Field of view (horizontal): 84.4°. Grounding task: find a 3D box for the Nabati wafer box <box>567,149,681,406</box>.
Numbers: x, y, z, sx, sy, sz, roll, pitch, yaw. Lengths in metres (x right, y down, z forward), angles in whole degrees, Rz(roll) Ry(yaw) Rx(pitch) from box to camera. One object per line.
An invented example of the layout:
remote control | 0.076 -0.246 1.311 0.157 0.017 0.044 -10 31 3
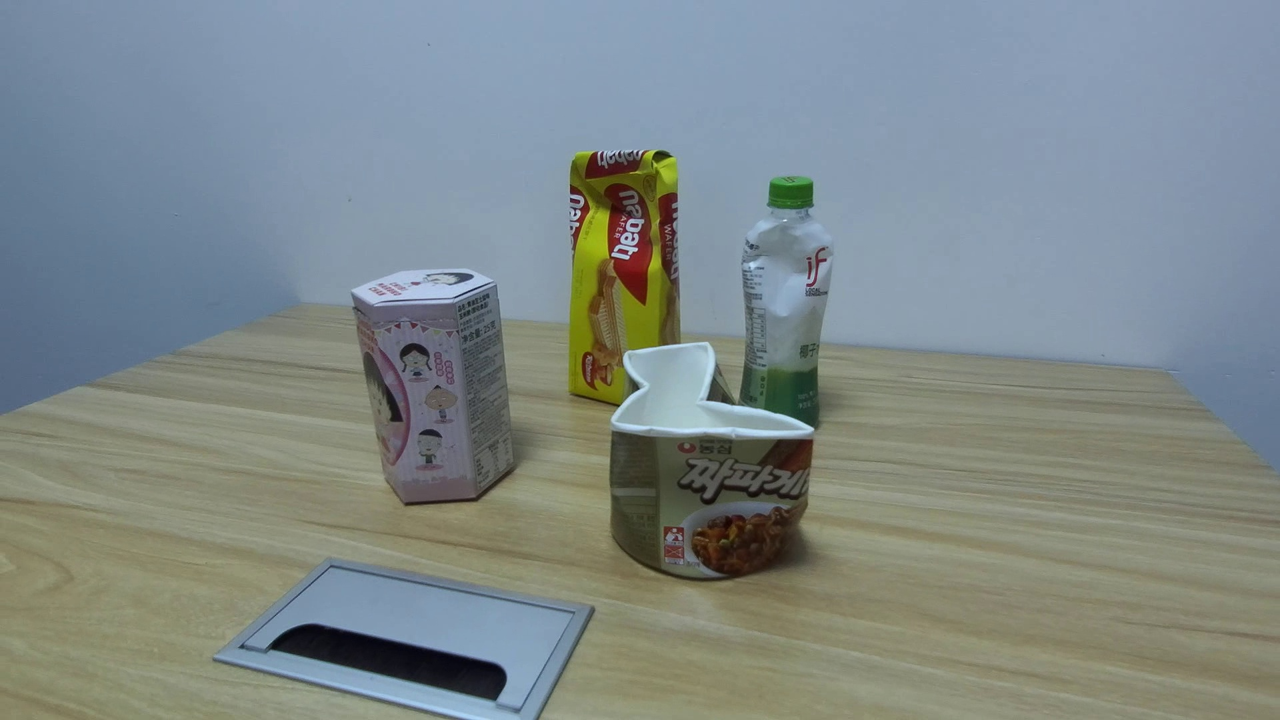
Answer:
Nabati wafer box | -0.014 -0.063 0.573 0.113 0.205 0.043 10 21 32

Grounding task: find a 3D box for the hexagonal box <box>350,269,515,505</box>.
hexagonal box | -0.135 0.016 0.468 0.084 0.136 0.091 -15 25 -33

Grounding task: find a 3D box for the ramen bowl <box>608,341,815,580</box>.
ramen bowl | 0.038 0.054 0.417 0.111 0.093 0.128 0 21 2

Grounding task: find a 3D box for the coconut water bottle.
coconut water bottle | 0.108 -0.039 0.525 0.069 0.187 0.069 1 20 0
